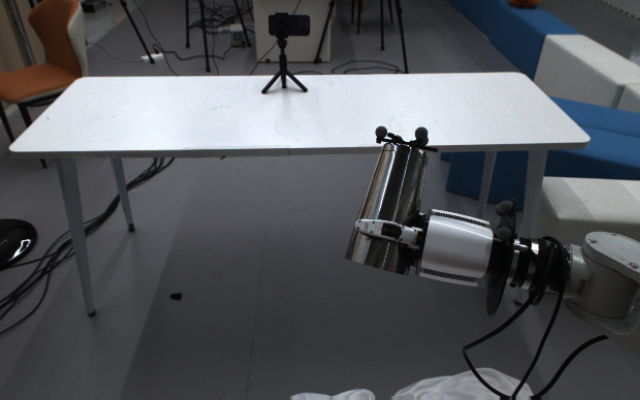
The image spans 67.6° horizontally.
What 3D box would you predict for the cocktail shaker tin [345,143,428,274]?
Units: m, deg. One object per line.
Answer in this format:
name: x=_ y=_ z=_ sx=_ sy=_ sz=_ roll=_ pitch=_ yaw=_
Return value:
cocktail shaker tin: x=0.100 y=0.011 z=0.681 sx=0.093 sy=0.170 sz=0.093 roll=15 pitch=-4 yaw=1
